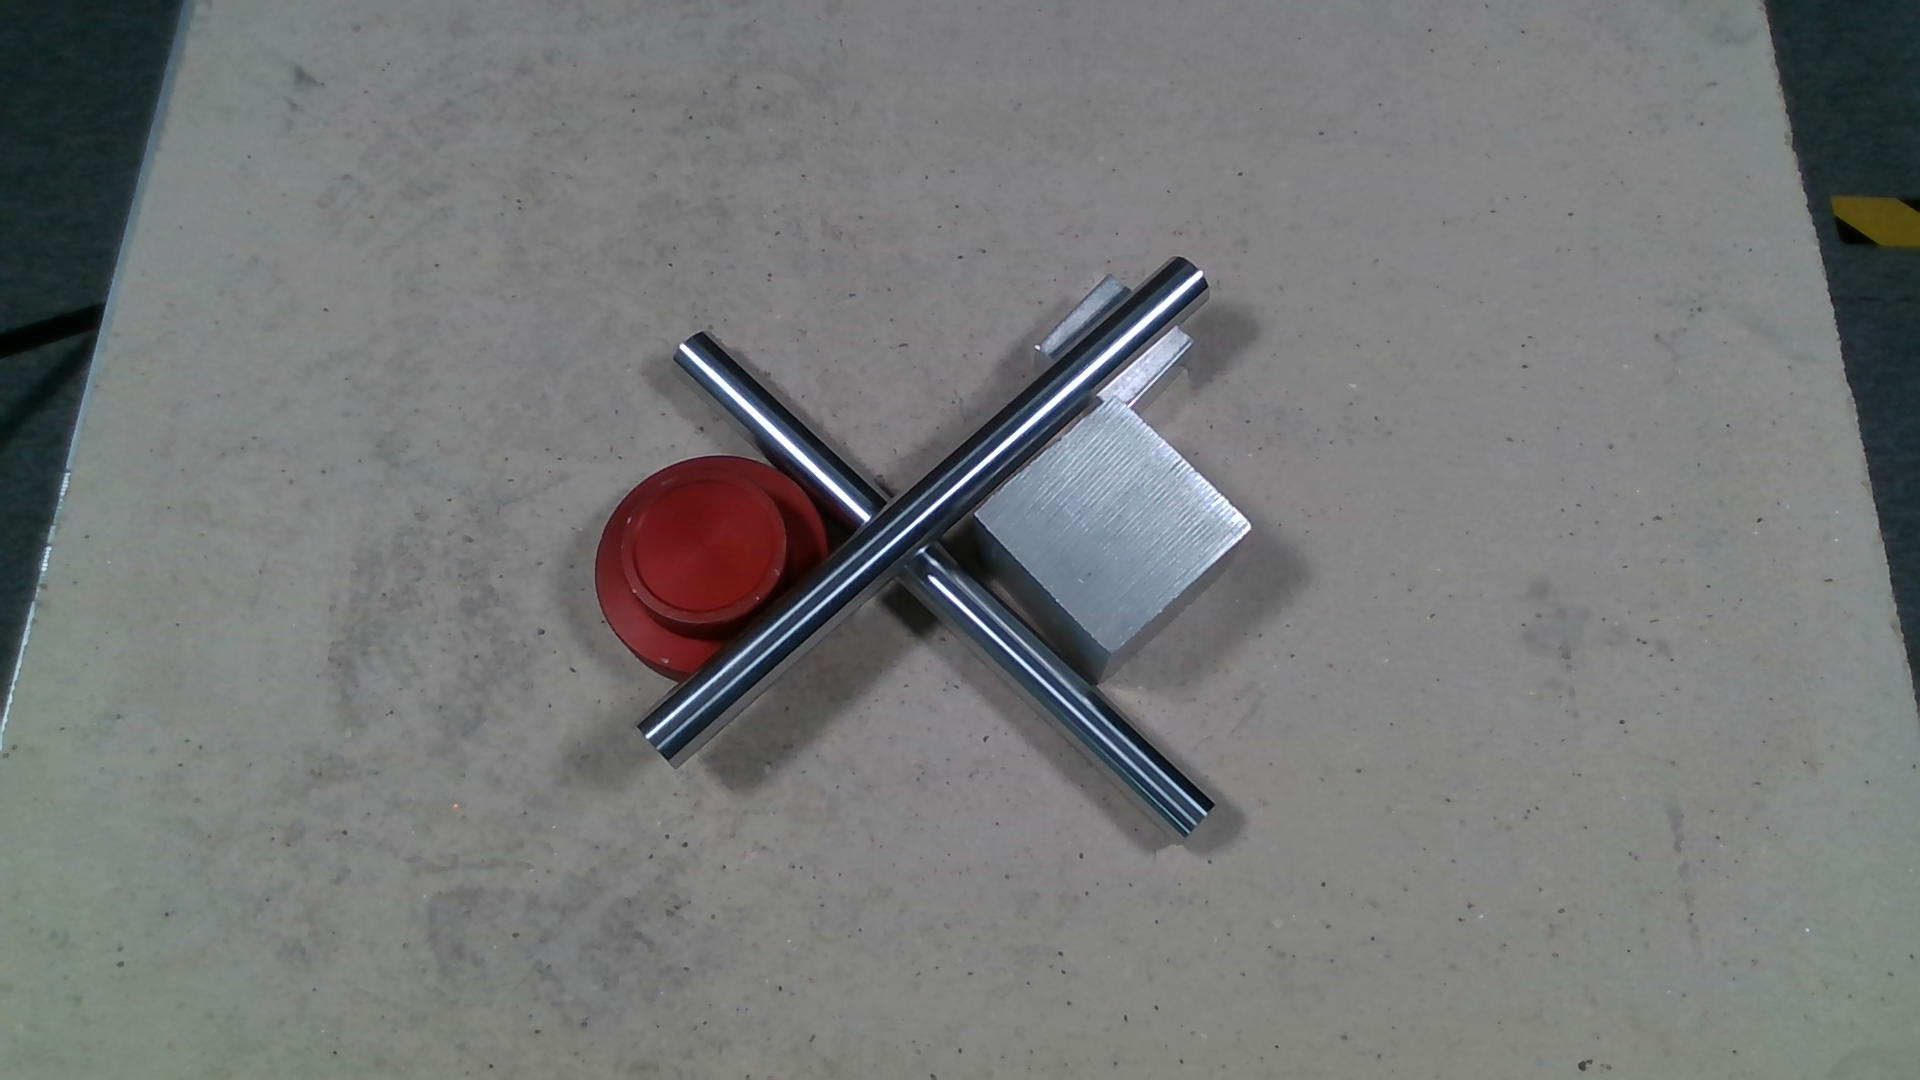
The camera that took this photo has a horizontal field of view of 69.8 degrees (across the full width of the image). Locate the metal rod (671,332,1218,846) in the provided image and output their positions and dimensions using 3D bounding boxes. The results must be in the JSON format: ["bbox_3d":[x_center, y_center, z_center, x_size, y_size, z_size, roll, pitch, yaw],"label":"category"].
[{"bbox_3d":[-0.013,0.015,0.585,0.300,0.025,0.025,42,76,14],"label":"metal rod"}]

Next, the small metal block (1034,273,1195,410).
[{"bbox_3d":[0.068,-0.083,0.619,0.050,0.025,0.050,41,75,13],"label":"small metal block"}]

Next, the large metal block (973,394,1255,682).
[{"bbox_3d":[0.062,0.001,0.576,0.080,0.050,0.080,-40,75,-13],"label":"large metal block"}]

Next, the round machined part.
[{"bbox_3d":[-0.104,0.009,0.575,0.098,0.042,0.098,0,70,0],"label":"round machined part"}]

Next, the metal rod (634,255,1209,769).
[{"bbox_3d":[-0.009,-0.018,0.567,0.300,0.025,0.025,-42,75,-13],"label":"metal rod"}]
